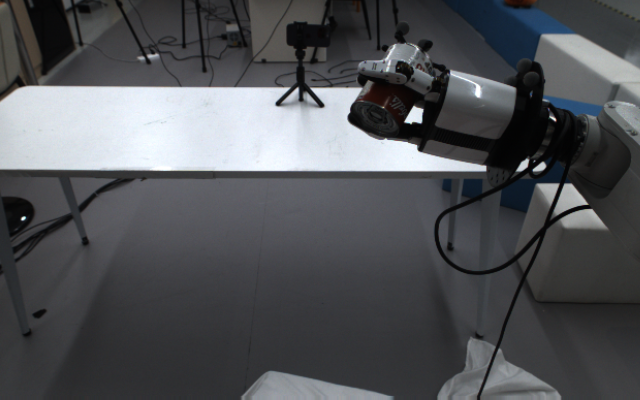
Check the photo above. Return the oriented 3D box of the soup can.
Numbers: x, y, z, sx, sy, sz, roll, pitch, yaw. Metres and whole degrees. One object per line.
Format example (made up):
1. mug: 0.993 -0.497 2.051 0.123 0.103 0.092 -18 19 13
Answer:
1. soup can: 0.094 -0.139 0.610 0.067 0.067 0.101 22 71 27
